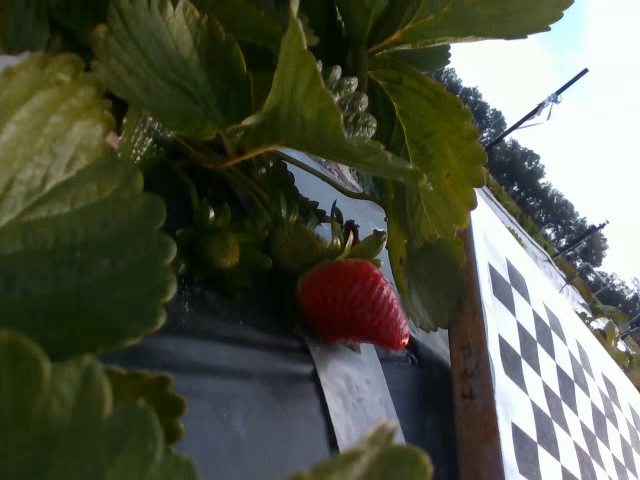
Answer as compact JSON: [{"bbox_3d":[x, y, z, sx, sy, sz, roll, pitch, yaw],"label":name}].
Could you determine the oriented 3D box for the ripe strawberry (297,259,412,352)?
[{"bbox_3d":[0.018,0.025,0.212,0.035,0.055,0.050,-35,-51,12],"label":"ripe strawberry"}]
